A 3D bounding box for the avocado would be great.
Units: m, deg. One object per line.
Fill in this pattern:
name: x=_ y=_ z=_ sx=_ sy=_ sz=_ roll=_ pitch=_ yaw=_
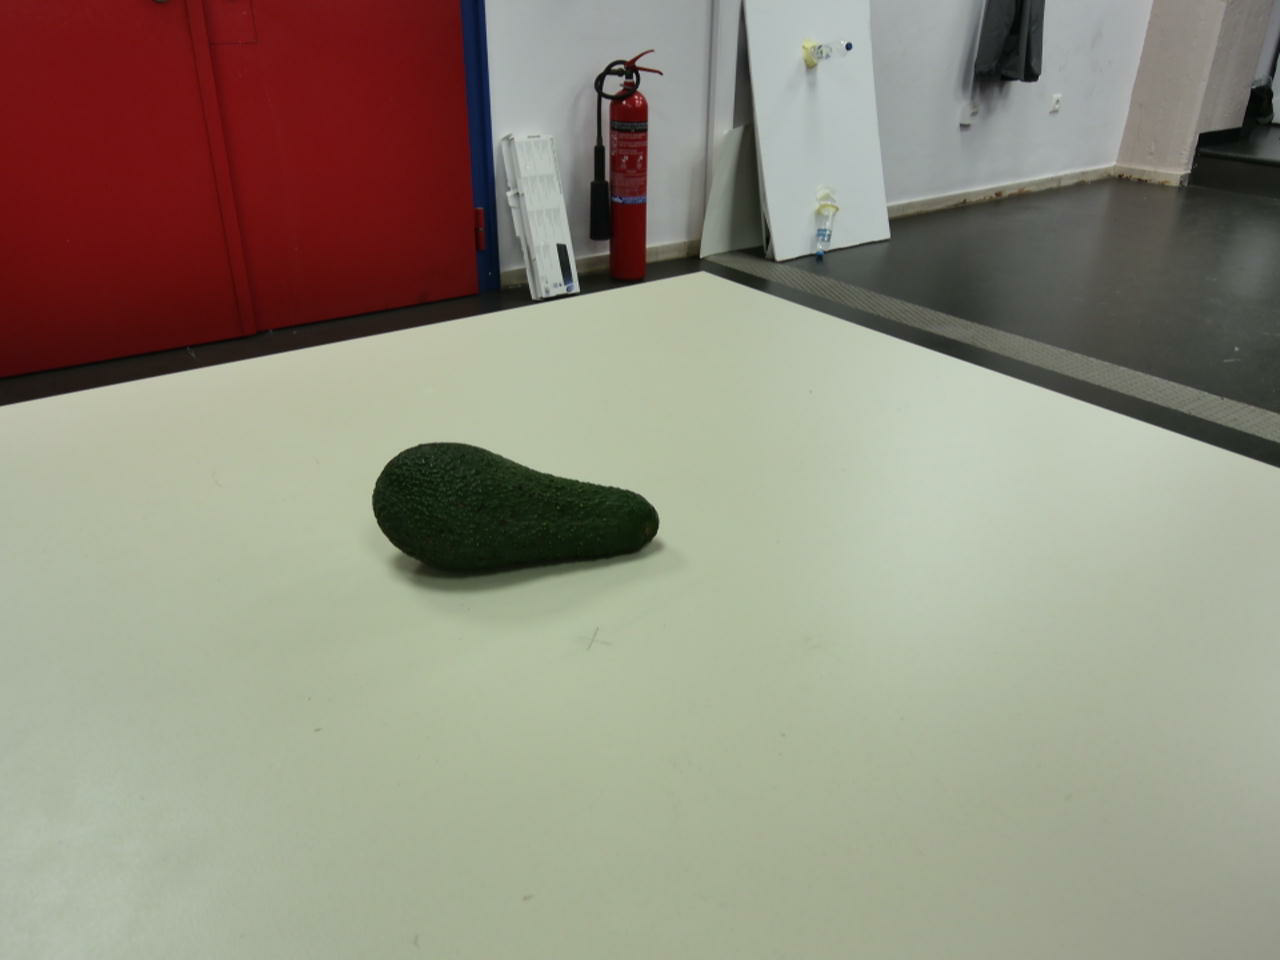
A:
avocado: x=-0.061 y=0.008 z=0.502 sx=0.141 sy=0.067 sz=0.063 roll=-10 pitch=27 yaw=-20
